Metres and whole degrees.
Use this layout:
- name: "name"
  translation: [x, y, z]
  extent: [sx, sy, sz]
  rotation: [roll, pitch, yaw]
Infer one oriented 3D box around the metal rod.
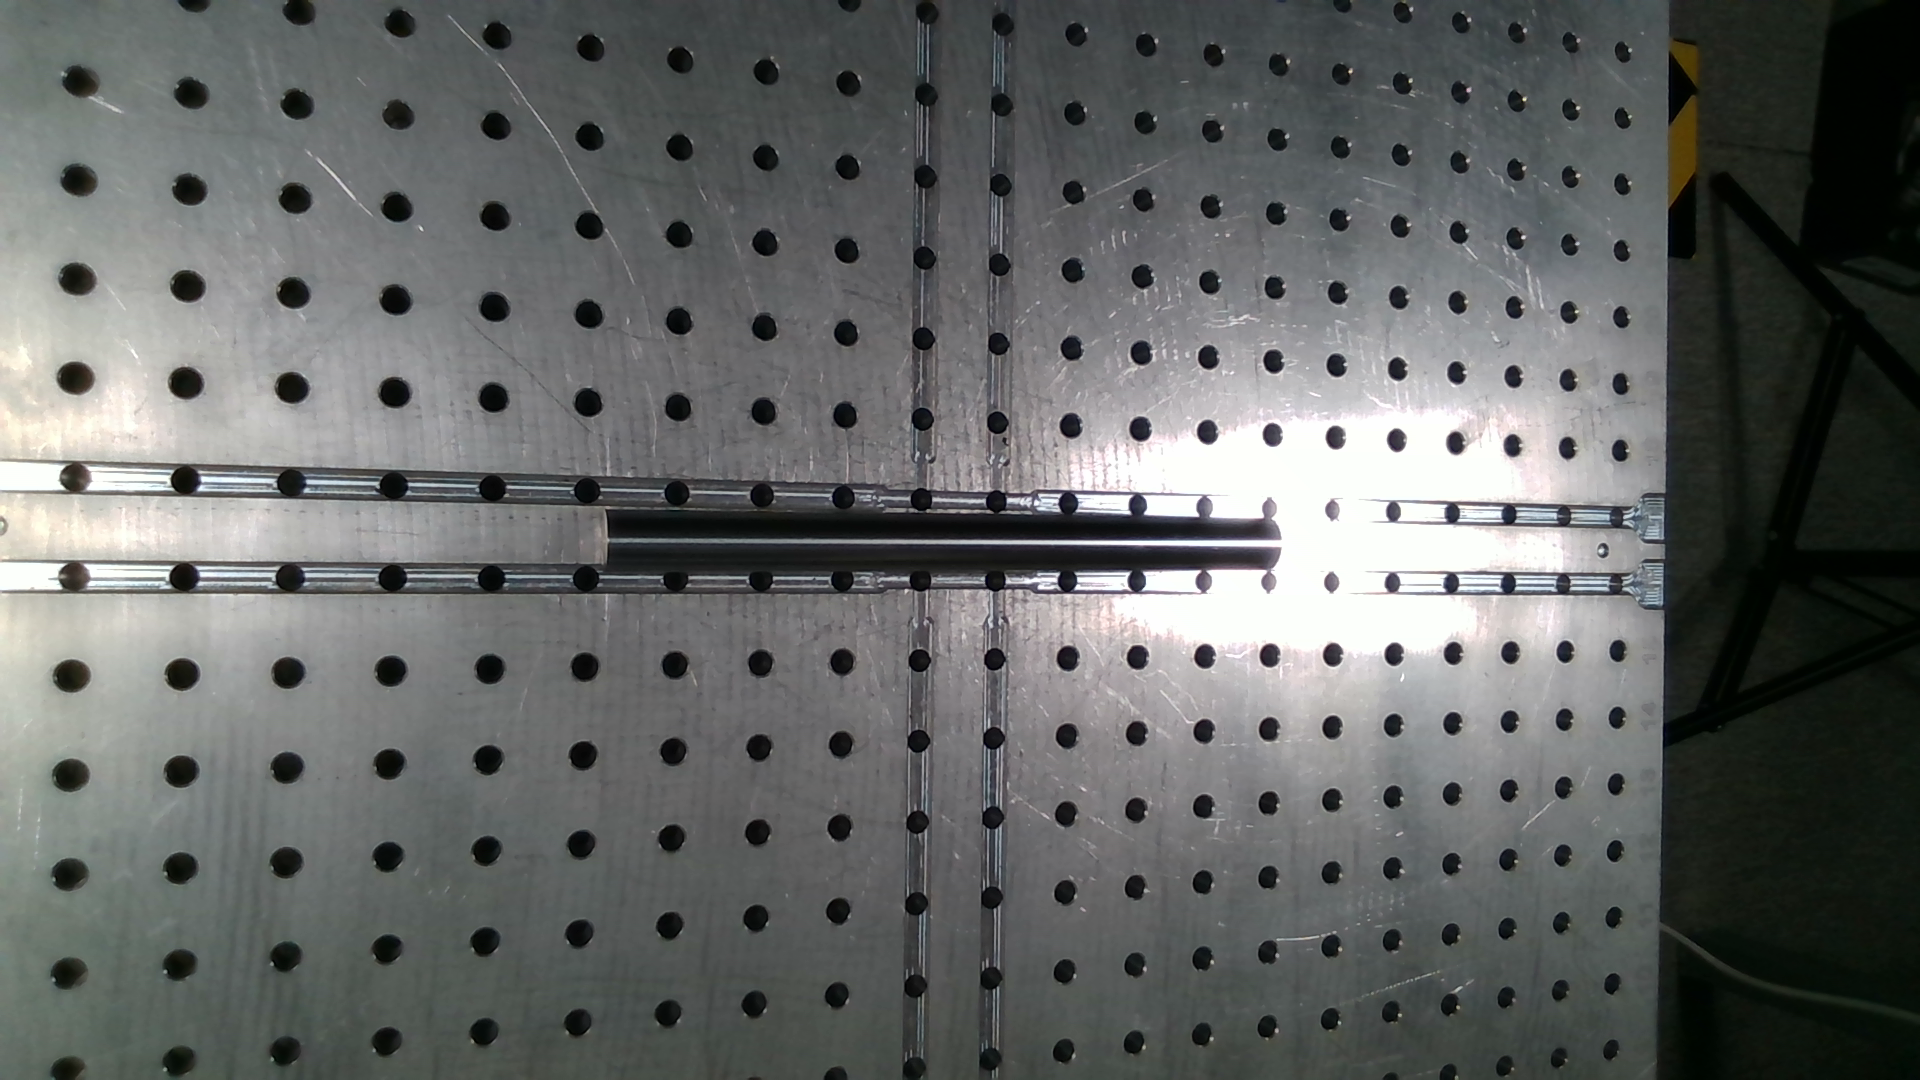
- name: "metal rod"
  translation: [0.002, 0.001, 0.589]
  extent: [0.300, 0.025, 0.025]
  rotation: [0, 90, -20]
